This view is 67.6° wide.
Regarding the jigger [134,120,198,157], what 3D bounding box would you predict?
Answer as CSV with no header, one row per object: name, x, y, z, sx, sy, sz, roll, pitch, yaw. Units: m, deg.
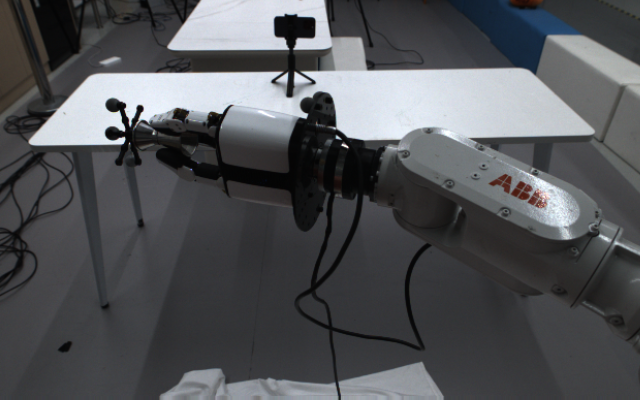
jigger,-0.191,-0.081,0.612,0.071,0.043,0.043,5,35,12
